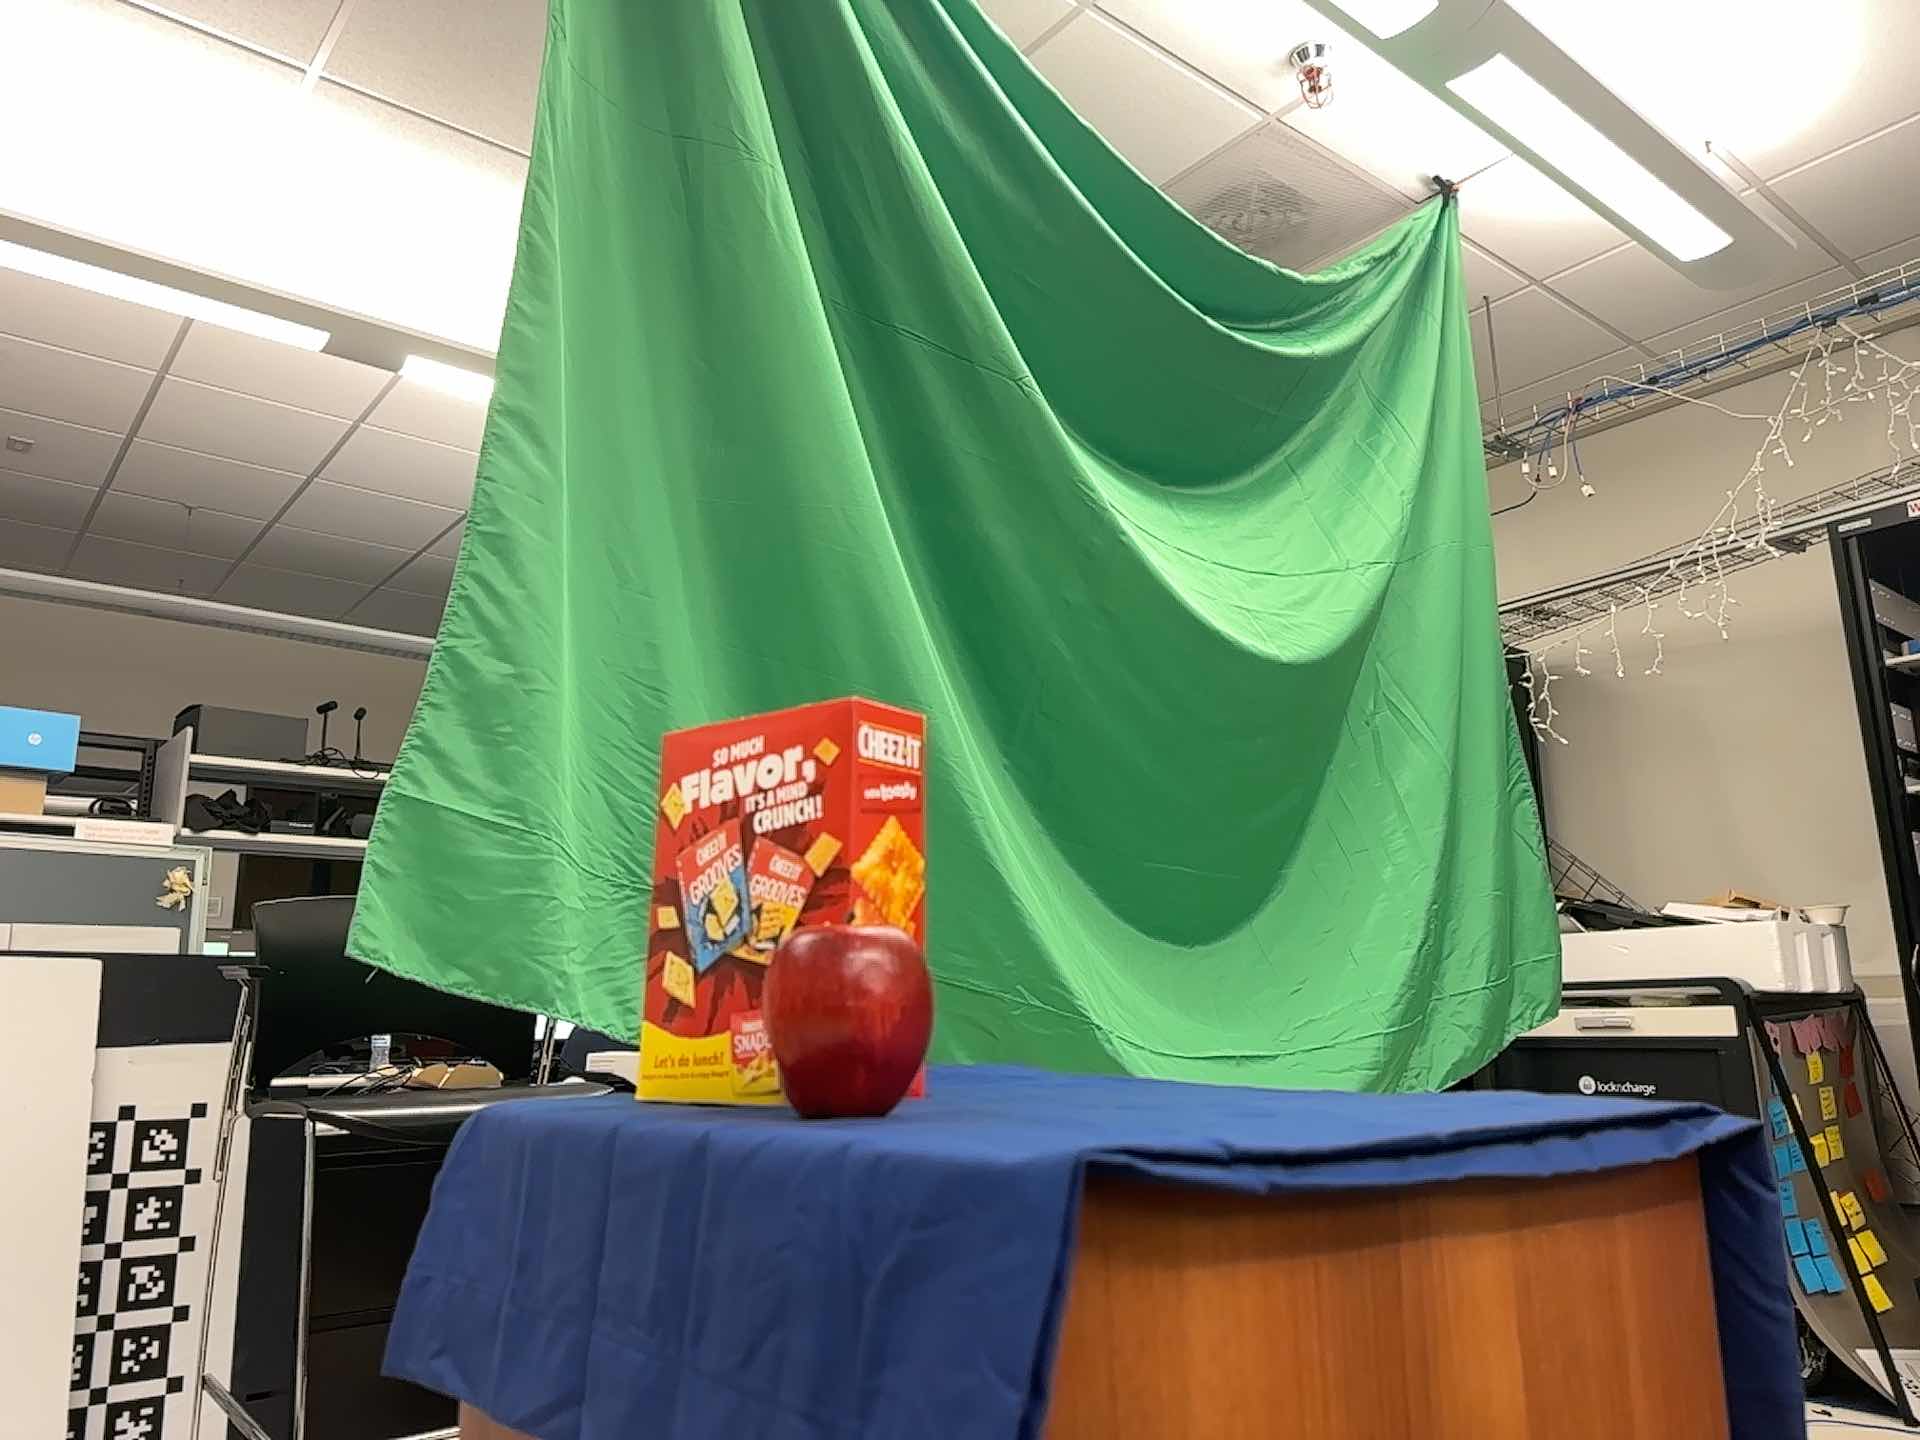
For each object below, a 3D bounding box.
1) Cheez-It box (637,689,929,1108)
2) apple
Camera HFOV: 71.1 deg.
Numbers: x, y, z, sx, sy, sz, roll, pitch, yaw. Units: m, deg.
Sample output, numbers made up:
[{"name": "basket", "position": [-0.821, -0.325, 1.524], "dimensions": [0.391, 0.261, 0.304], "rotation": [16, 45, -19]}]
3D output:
[{"name": "Cheez-It box", "position": [-0.102, 0.103, 0.767], "dimensions": [0.159, 0.214, 0.062], "rotation": [-9, -13, 35]}, {"name": "apple", "position": [-0.052, 0.136, 0.628], "dimensions": [0.079, 0.093, 0.079], "rotation": [-3, -12, -1]}]
